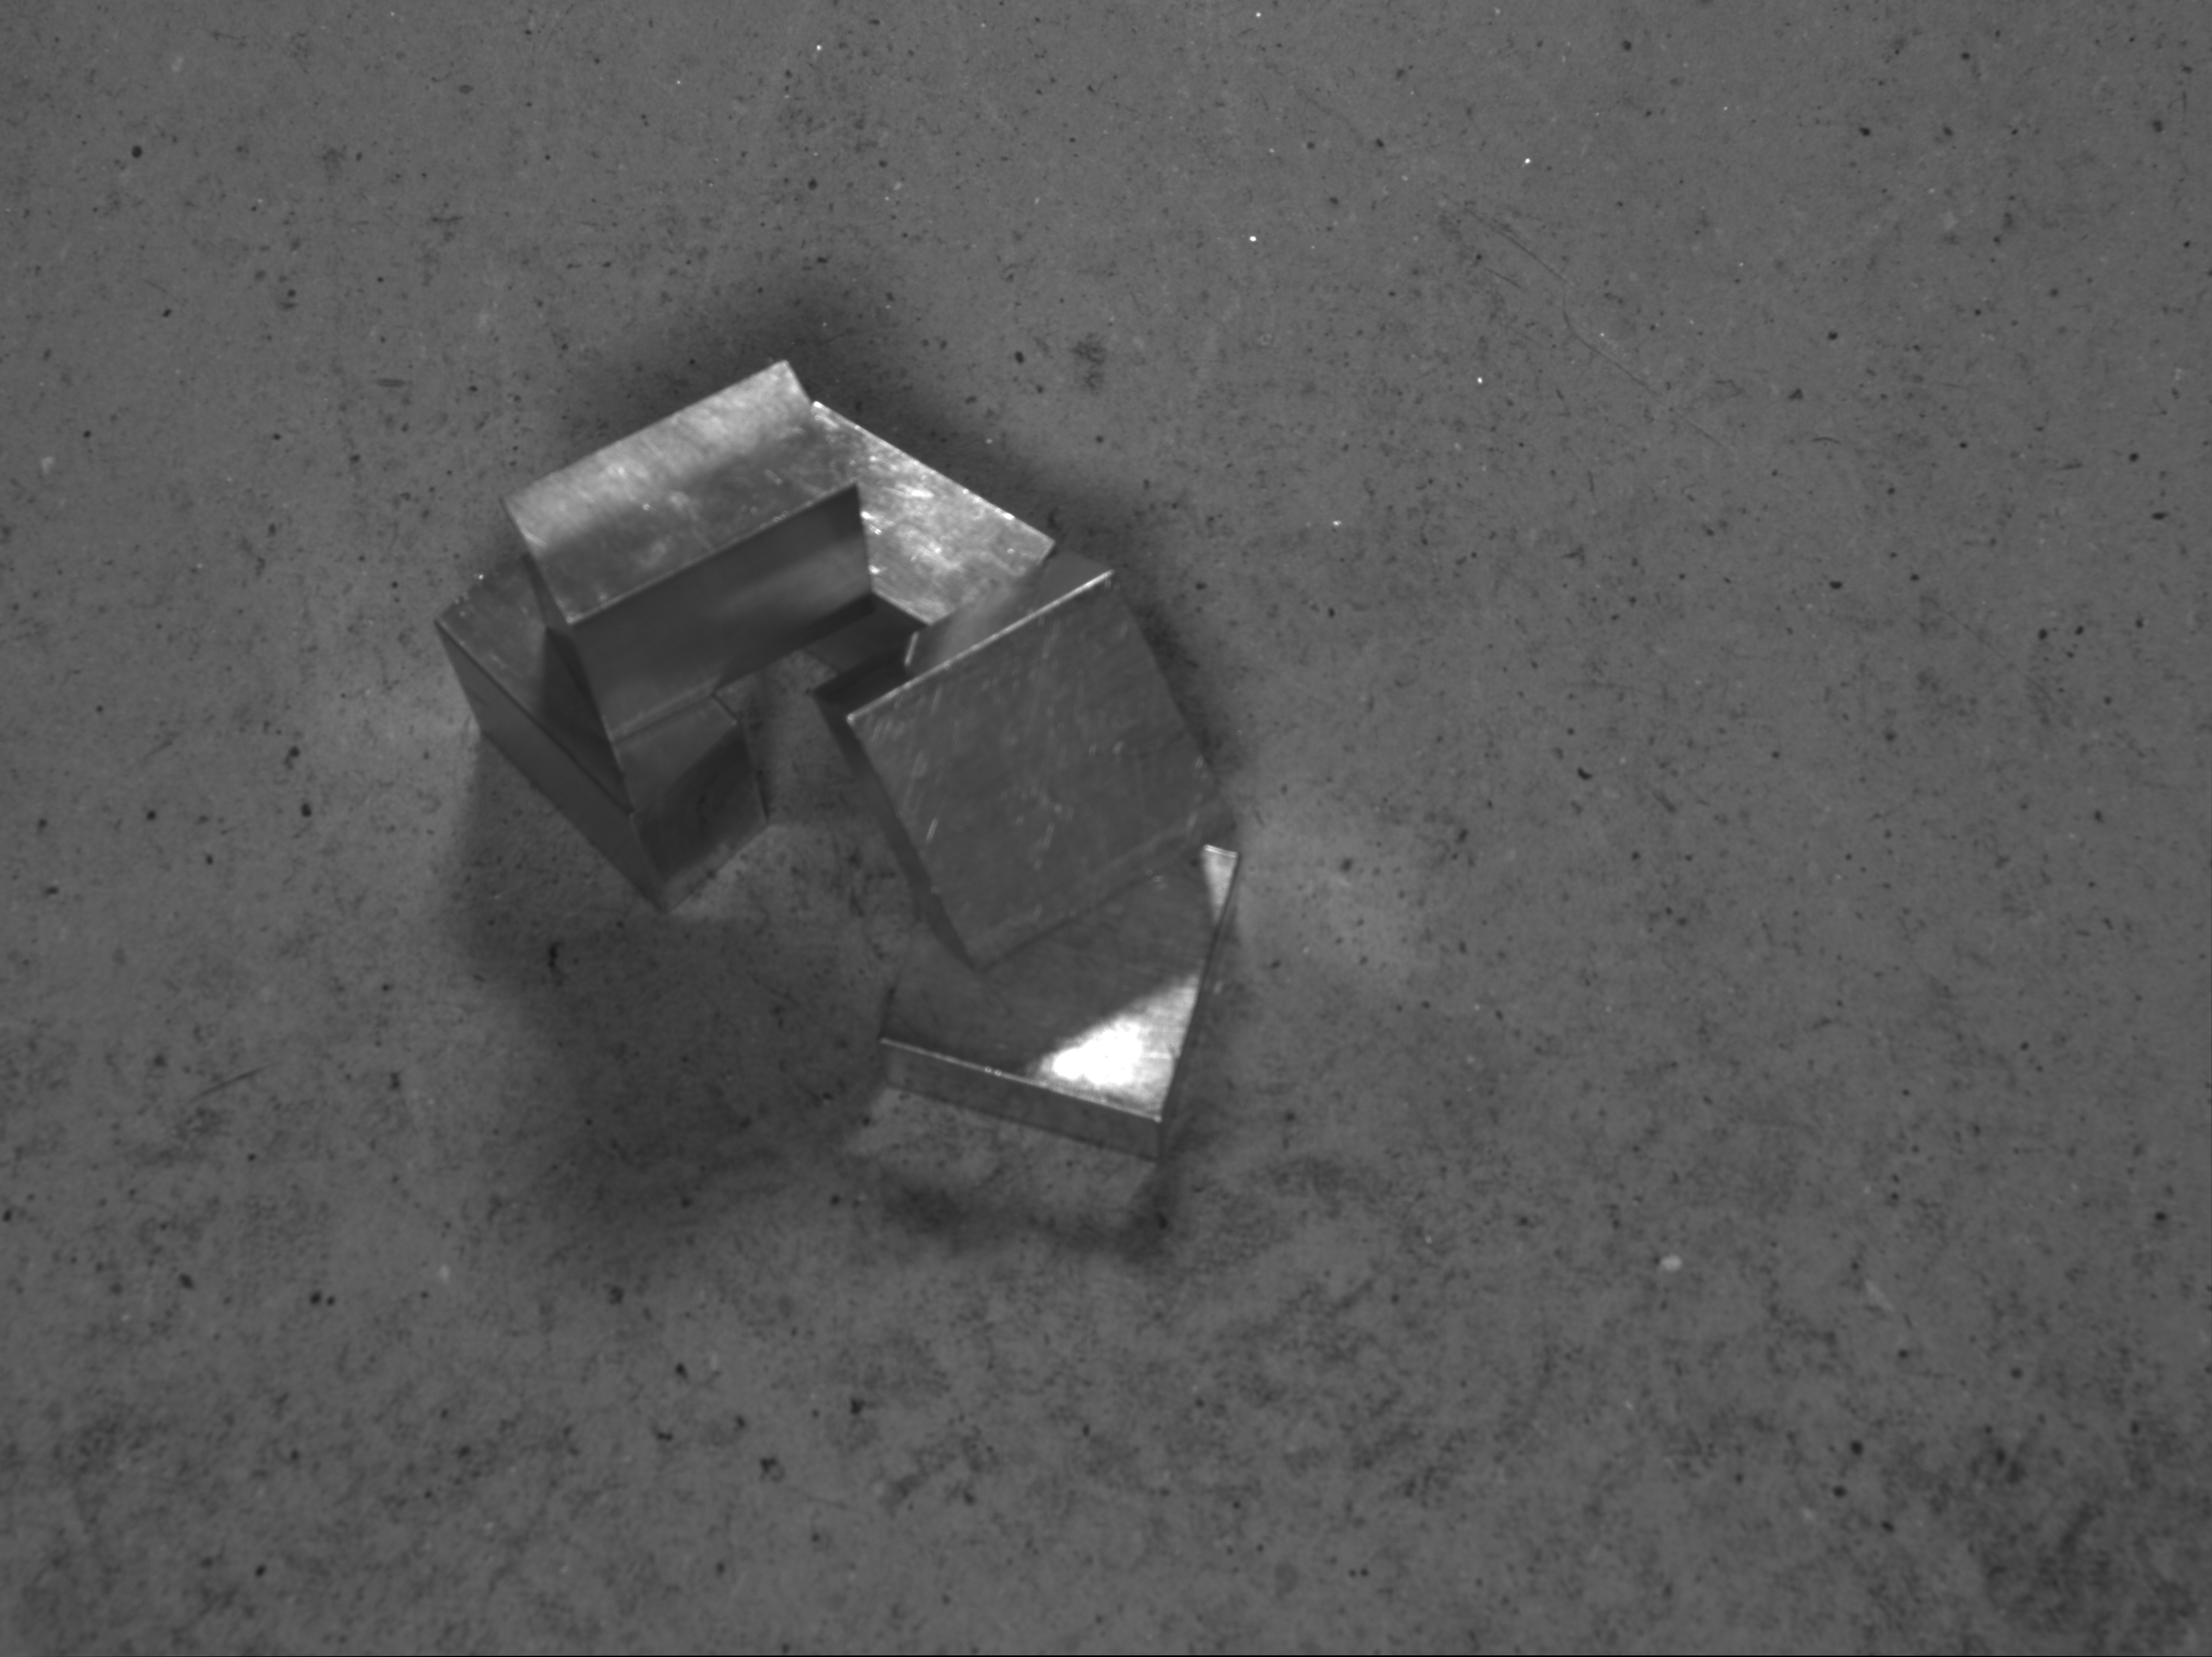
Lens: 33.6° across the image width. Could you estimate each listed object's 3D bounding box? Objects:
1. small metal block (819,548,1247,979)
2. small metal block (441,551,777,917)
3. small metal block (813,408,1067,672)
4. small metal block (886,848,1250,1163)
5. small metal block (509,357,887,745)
[{"bbox_3d":[-0.012,-0.011,0.609,0.050,0.025,0.050,-30,110,-10],"label":"small metal block"},{"bbox_3d":[-0.086,-0.018,0.638,0.025,0.050,0.050,-43,75,-14],"label":"small metal block"},{"bbox_3d":[-0.034,-0.042,0.648,0.050,0.050,0.025,31,73,11],"label":"small metal block"},{"bbox_3d":[-0.006,0.025,0.636,0.050,0.025,0.050,15,71,5],"label":"small metal block"},{"bbox_3d":[-0.065,-0.044,0.595,0.050,0.050,0.025,-28,72,-10],"label":"small metal block"}]
